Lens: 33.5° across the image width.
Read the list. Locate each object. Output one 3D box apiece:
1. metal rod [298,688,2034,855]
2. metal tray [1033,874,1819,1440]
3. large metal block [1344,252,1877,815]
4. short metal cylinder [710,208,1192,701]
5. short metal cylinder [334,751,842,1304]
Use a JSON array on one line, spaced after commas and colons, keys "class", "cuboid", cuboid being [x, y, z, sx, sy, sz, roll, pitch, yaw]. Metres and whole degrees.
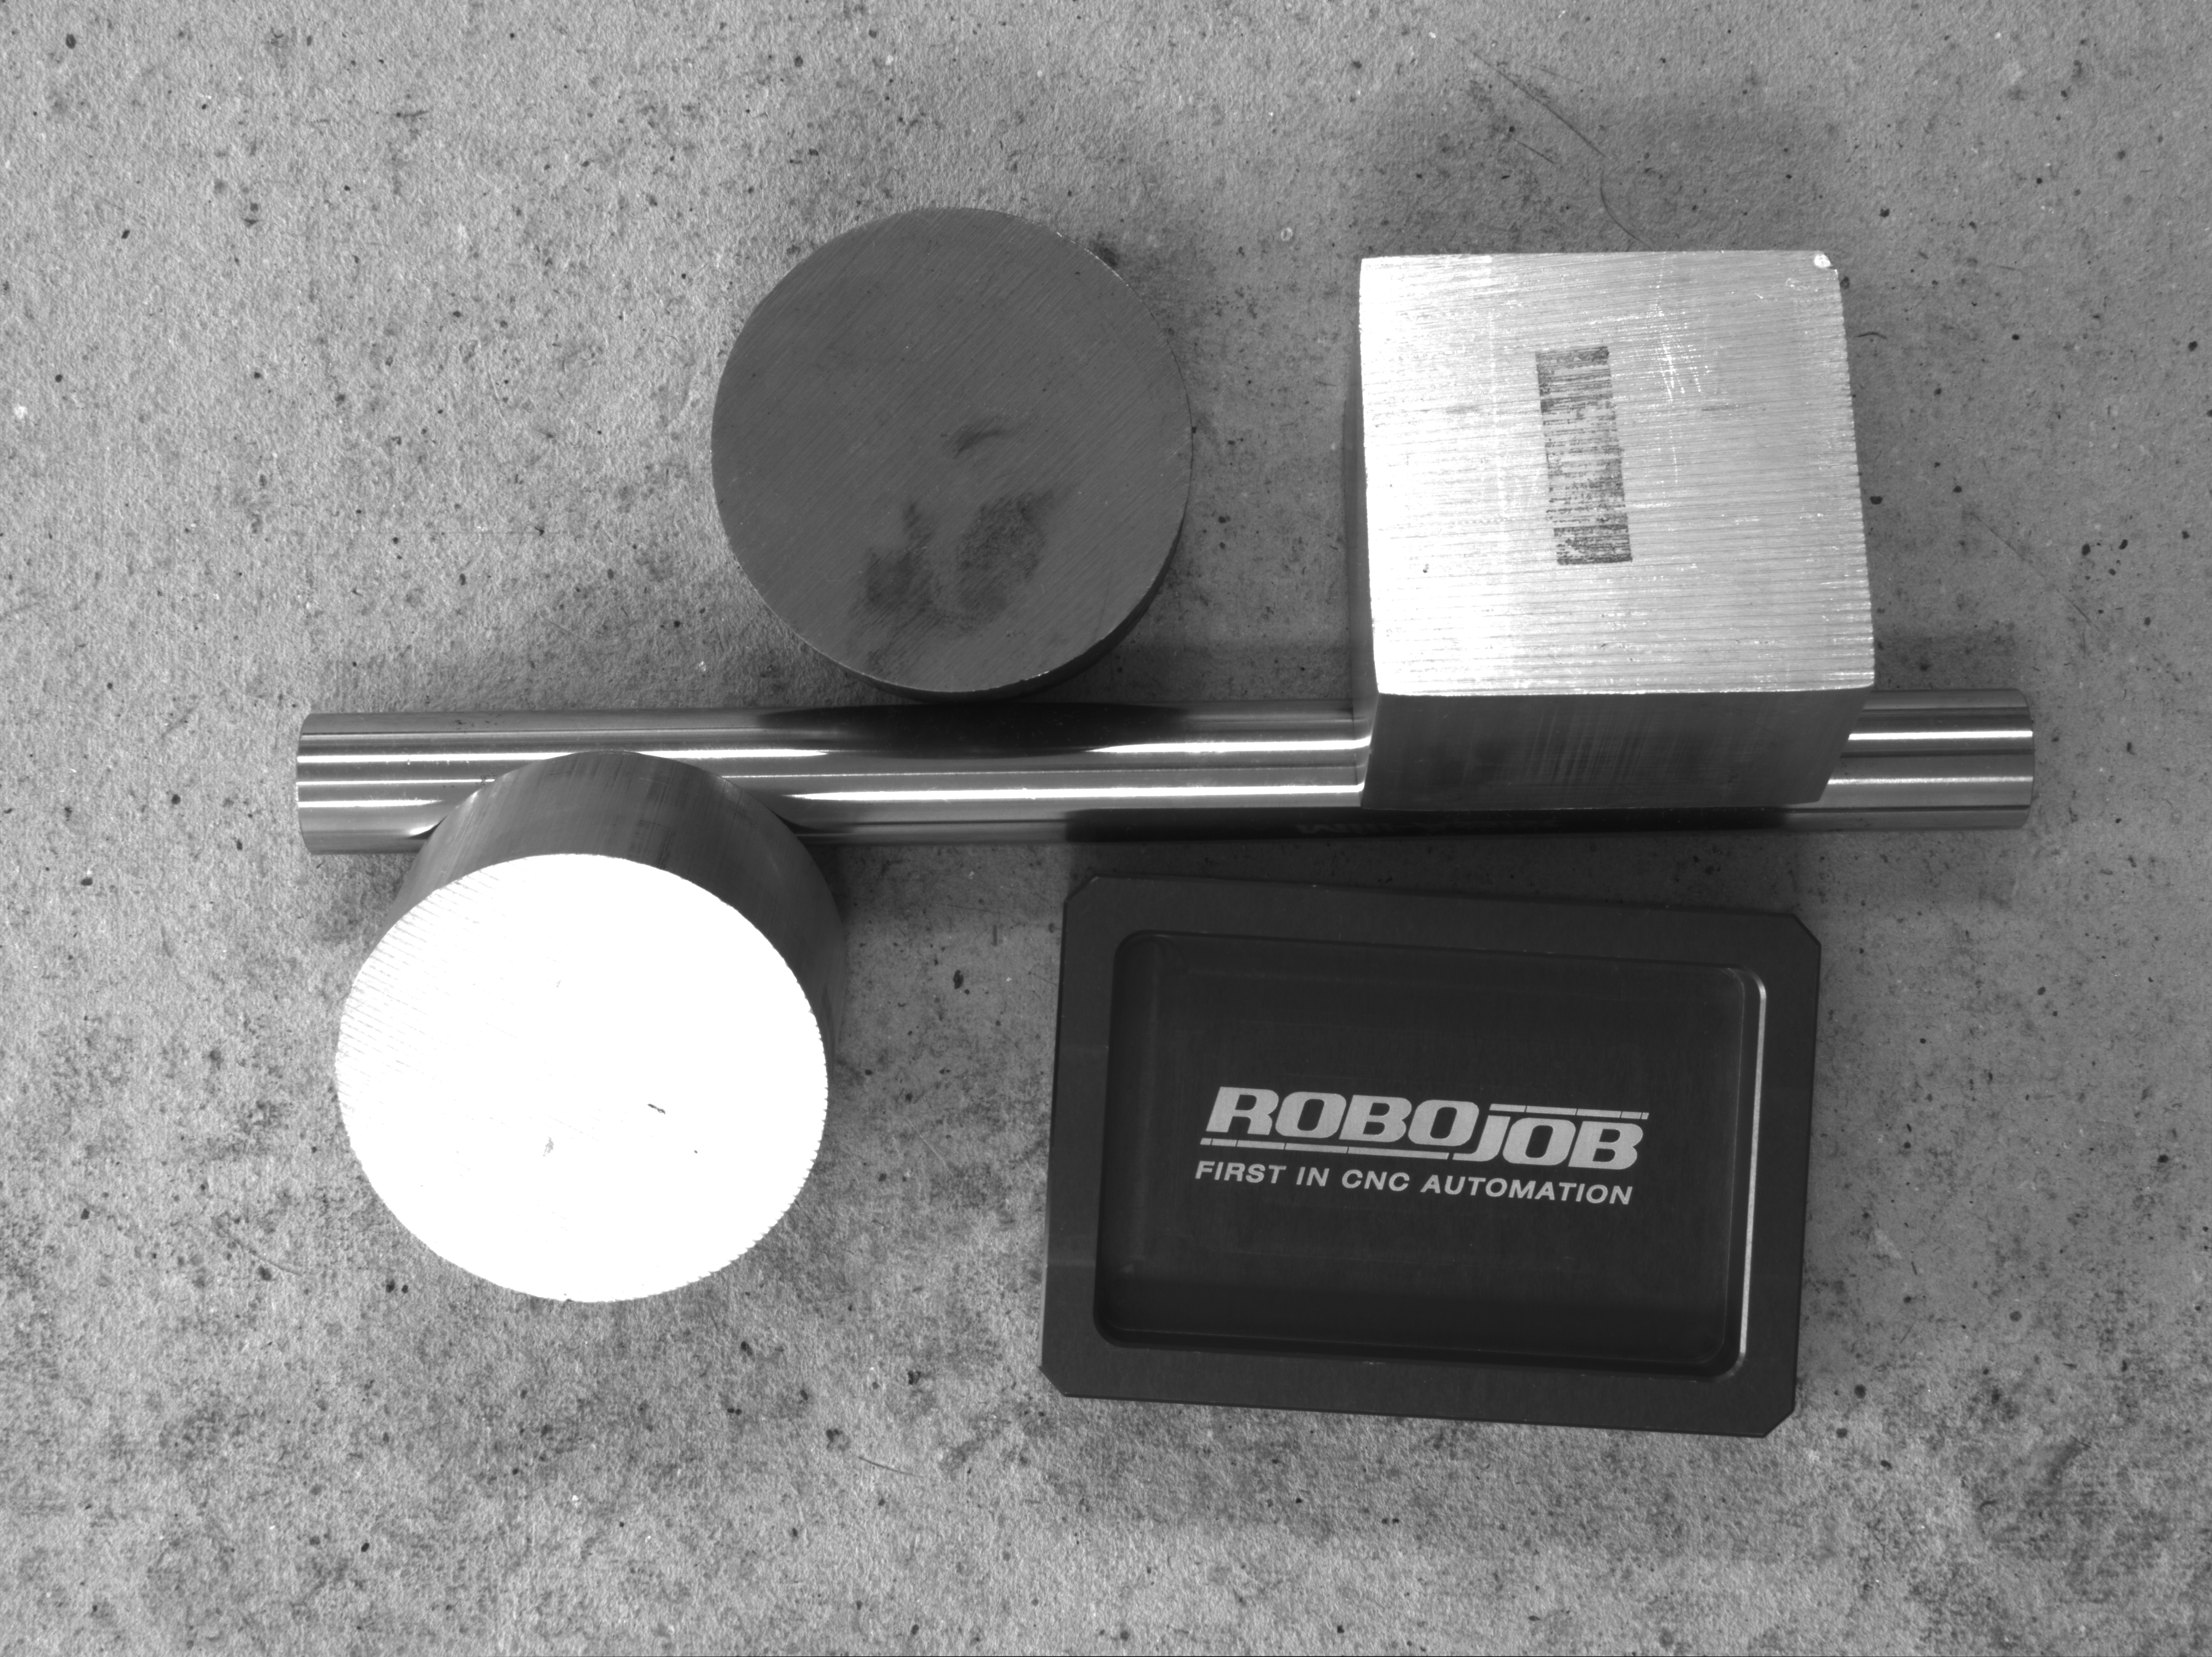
[{"class": "metal rod", "cuboid": [0.011, -0.010, 0.647, 0.300, 0.025, 0.025, -1, 90, 0]}, {"class": "metal tray", "cuboid": [0.055, 0.056, 0.643, 0.130, 0.030, 0.090, 3, 90, 0]}, {"class": "large metal block", "cuboid": [0.082, -0.049, 0.621, 0.080, 0.050, 0.080, -1, 69, 0]}, {"class": "short metal cylinder", "cuboid": [-0.026, -0.063, 0.634, 0.080, 0.050, 0.080, 0, 89, 0]}, {"class": "short metal cylinder", "cuboid": [-0.086, 0.033, 0.621, 0.080, 0.050, 0.080, 0, 111, -1]}]
